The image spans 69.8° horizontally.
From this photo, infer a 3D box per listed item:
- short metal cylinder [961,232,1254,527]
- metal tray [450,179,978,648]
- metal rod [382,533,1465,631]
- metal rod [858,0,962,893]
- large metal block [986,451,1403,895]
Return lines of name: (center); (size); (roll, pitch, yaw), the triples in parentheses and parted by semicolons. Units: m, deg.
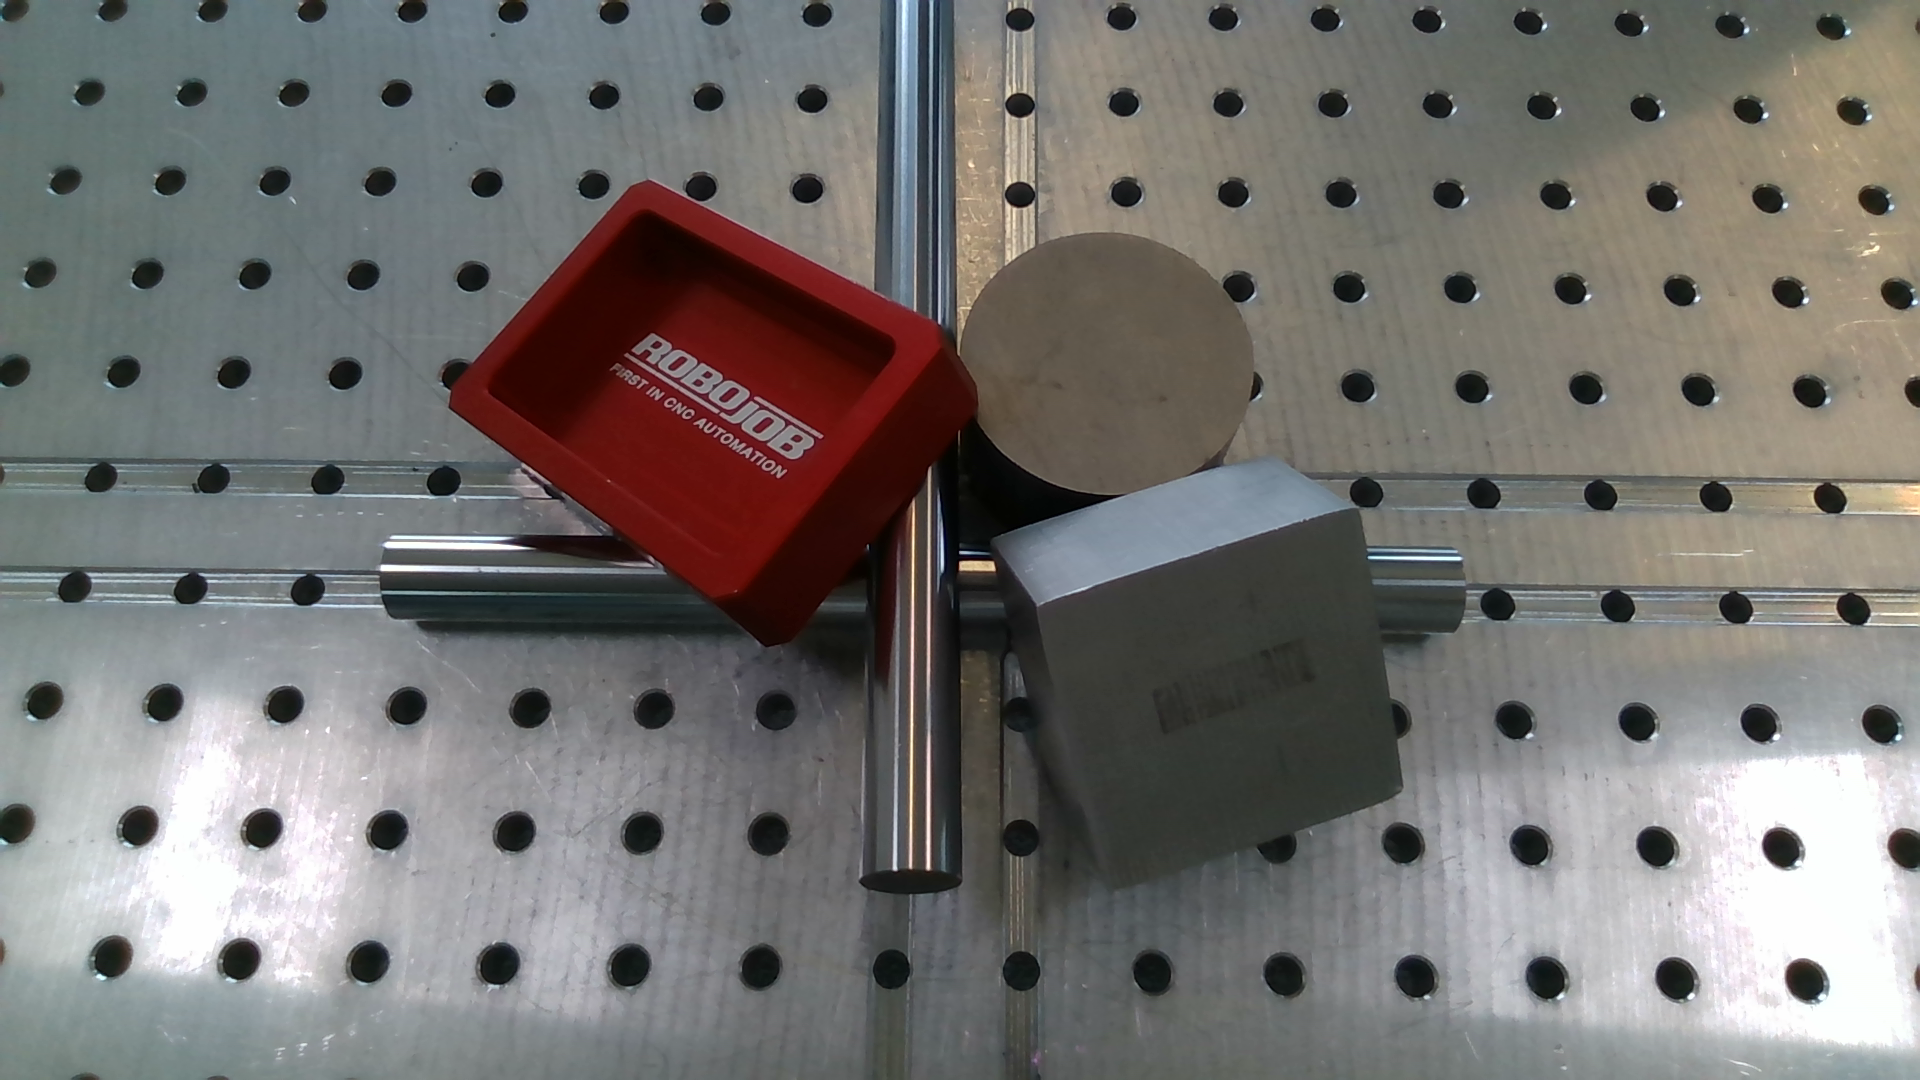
short metal cylinder: (0.040, -0.041, 0.399); (0.080, 0.050, 0.080); (0, 70, 0)
metal tray: (-0.071, -0.040, 0.382); (0.130, 0.030, 0.090); (32, 78, 32)
metal rod: (-0.011, 0.012, 0.394); (0.300, 0.025, 0.025); (1, 70, 0)
metal rod: (-0.013, -0.051, 0.399); (0.025, 0.025, 0.299); (0, 63, 0)
large metal block: (0.059, 0.032, 0.352); (0.080, 0.050, 0.080); (-17, 111, -6)
